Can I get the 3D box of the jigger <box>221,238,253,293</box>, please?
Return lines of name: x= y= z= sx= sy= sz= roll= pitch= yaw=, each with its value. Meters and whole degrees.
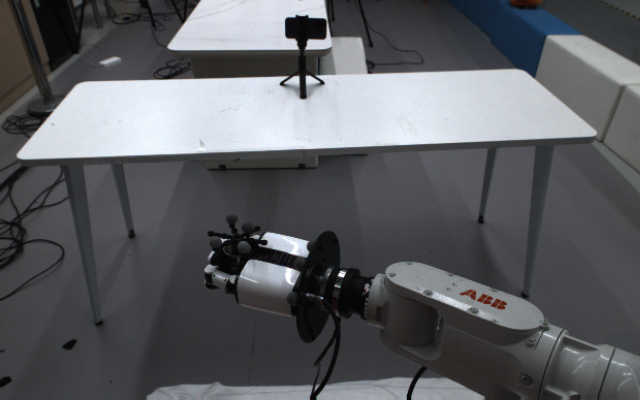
jigger: x=-0.125 y=0.100 z=0.724 sx=0.043 sy=0.071 sz=0.043 roll=5 pitch=26 yaw=-3
